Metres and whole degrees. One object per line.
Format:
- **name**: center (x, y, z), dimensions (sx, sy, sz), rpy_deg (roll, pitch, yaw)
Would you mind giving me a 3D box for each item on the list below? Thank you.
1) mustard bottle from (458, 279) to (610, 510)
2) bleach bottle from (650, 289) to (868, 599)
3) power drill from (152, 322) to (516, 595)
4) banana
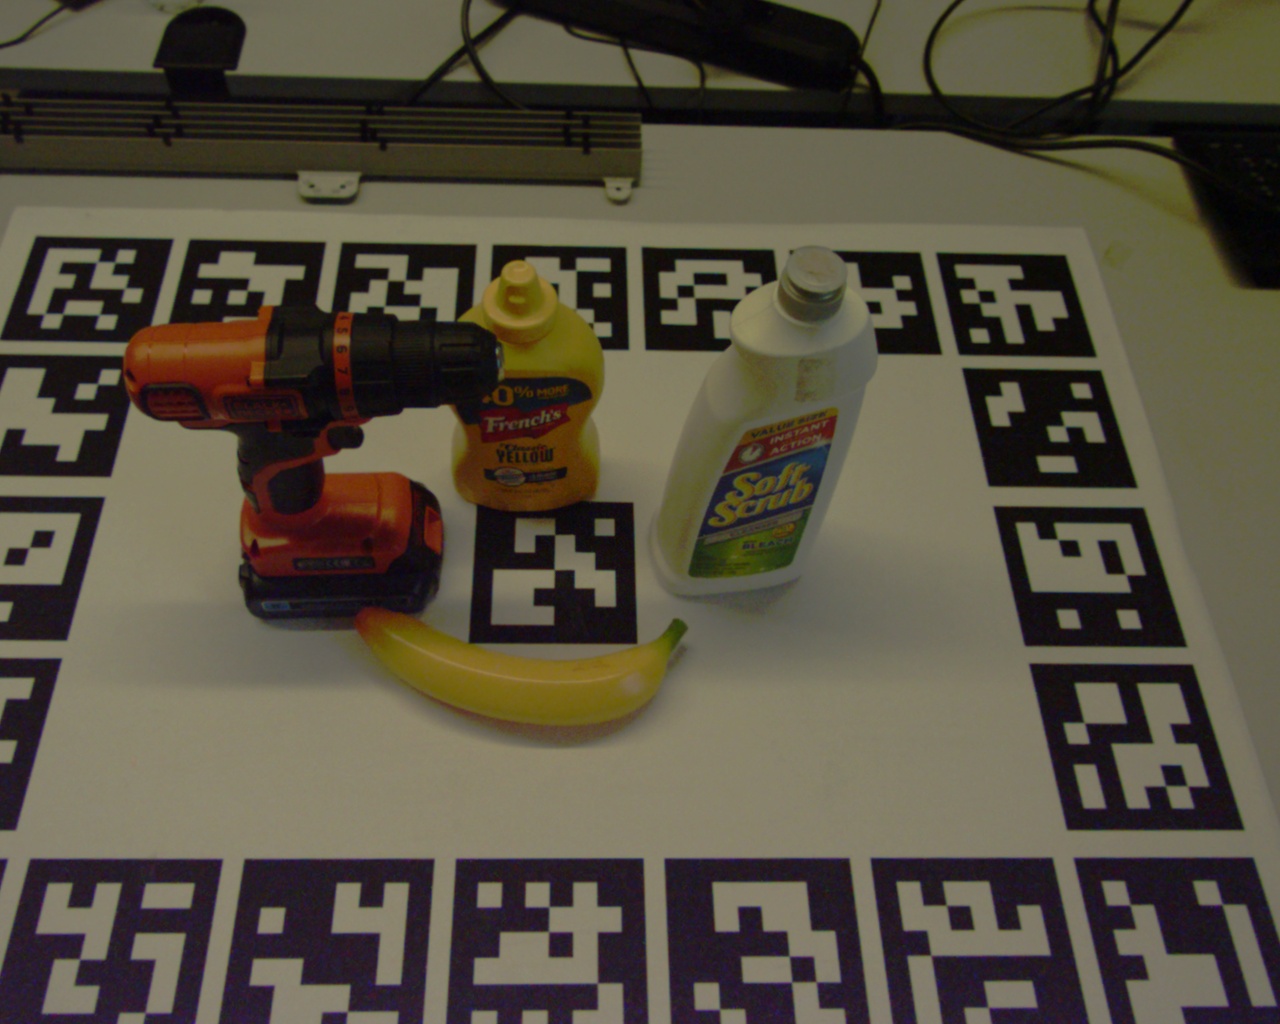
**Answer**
- **mustard bottle**: center (-0.067, -0.072, 0.701), dimensions (0.096, 0.191, 0.058), rpy_deg (0, 59, -5)
- **bleach bottle**: center (0.067, -0.035, 0.662), dimensions (0.102, 0.250, 0.068), rpy_deg (-8, 61, -9)
- **power drill**: center (-0.164, -0.028, 0.647), dimensions (0.184, 0.187, 0.058), rpy_deg (-2, 53, -8)
- **banana**: center (-0.060, 0.089, 0.691), dimensions (0.197, 0.039, 0.074), rpy_deg (1, 63, -1)
